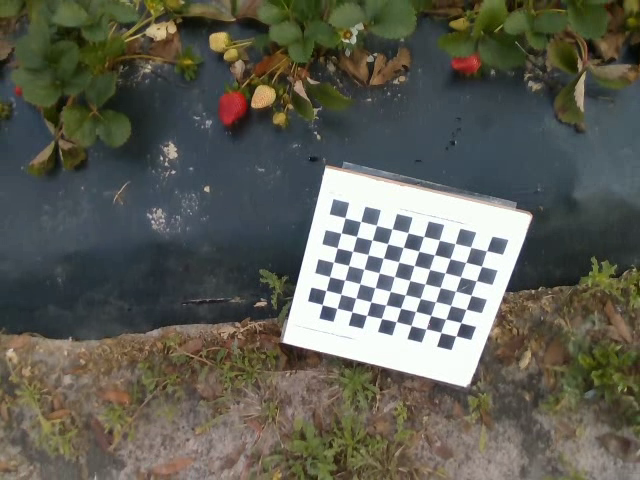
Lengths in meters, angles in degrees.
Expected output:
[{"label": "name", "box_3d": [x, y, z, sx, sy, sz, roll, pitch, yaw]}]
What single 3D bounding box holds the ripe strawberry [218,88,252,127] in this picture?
[{"label": "ripe strawberry", "box_3d": [-0.126, -0.184, 0.817, 0.050, 0.059, 0.034, 3, -31, 5]}]
